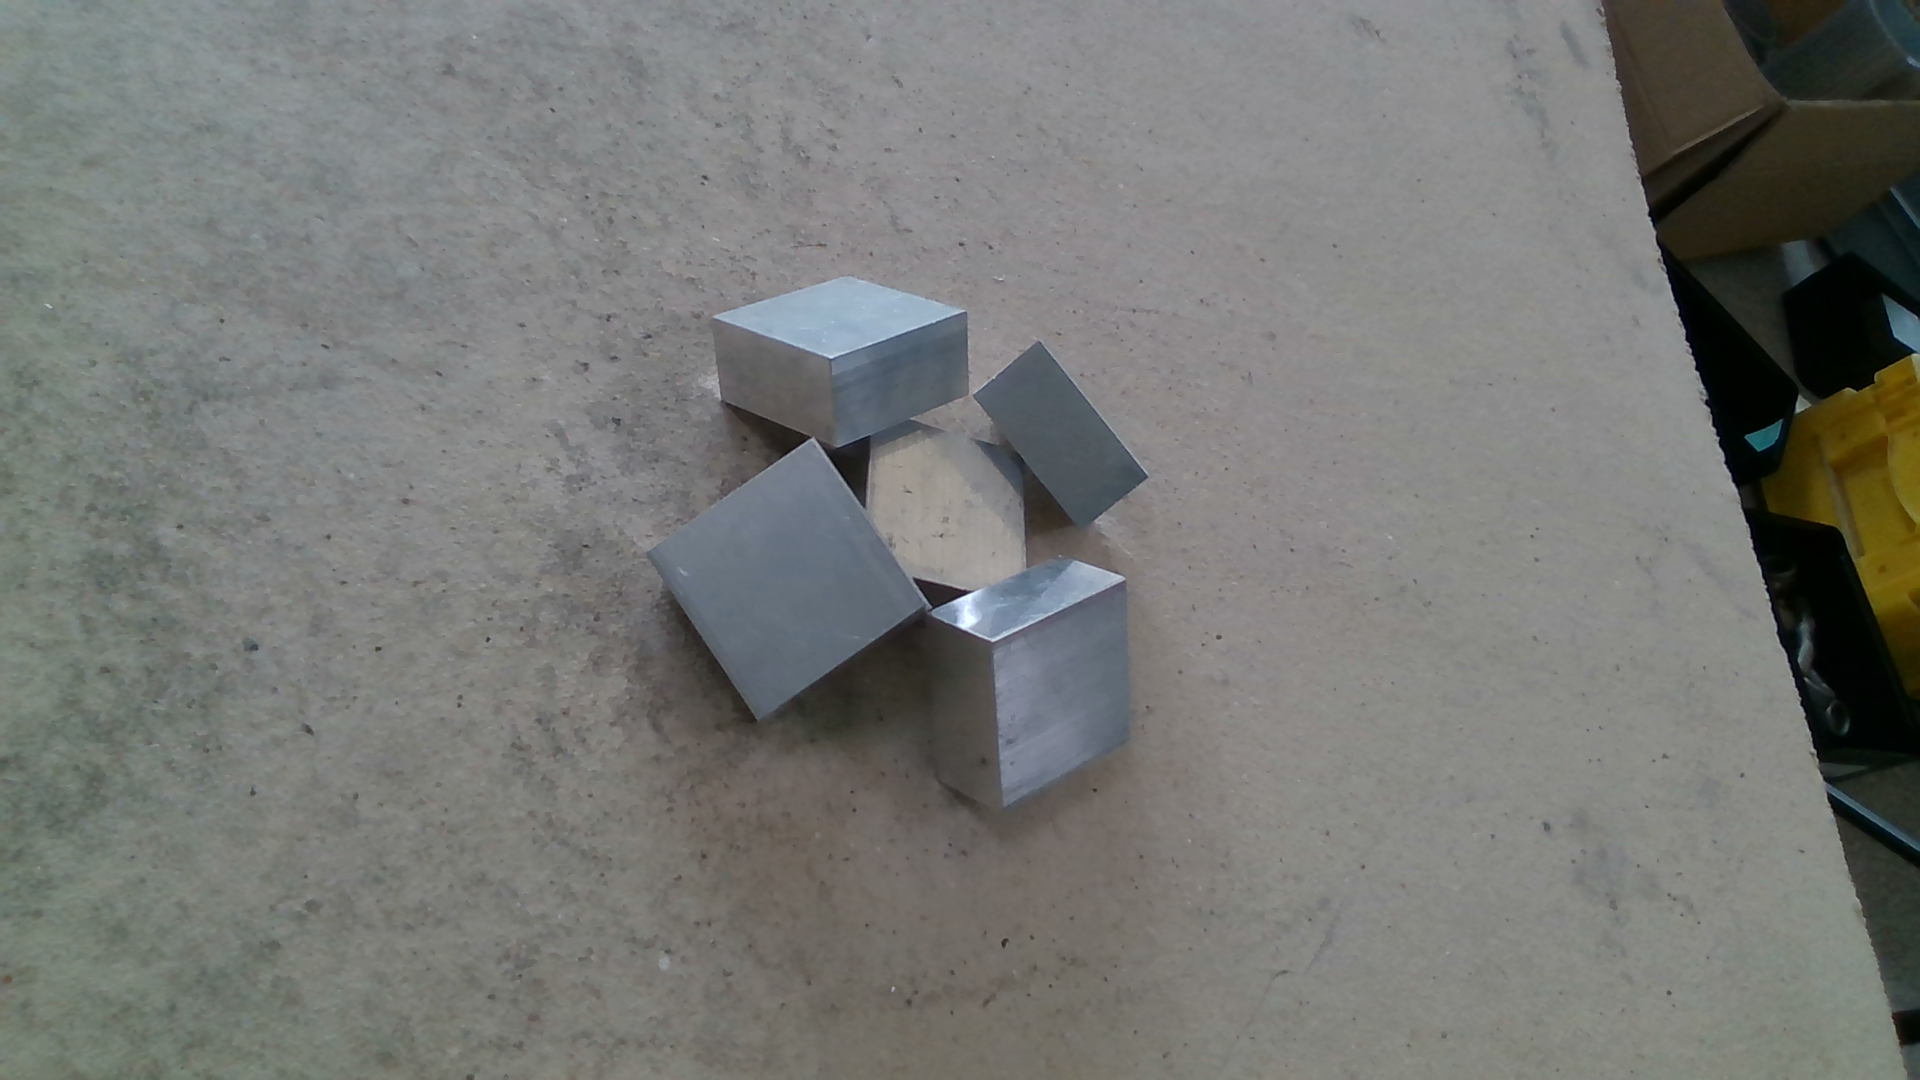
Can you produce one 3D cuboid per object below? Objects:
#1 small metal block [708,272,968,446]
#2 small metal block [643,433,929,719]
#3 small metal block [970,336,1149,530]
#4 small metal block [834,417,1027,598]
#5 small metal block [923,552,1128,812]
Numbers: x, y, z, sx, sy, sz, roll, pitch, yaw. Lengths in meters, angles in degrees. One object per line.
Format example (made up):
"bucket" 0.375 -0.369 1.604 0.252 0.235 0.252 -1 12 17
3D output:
"small metal block" -0.033 -0.052 0.383 0.050 0.025 0.050 24 37 38
"small metal block" -0.042 0.010 0.346 0.050 0.025 0.050 -35 85 -1
"small metal block" 0.032 -0.032 0.414 0.050 0.025 0.050 52 9 2
"small metal block" -0.009 -0.005 0.390 0.050 0.025 0.050 14 60 -25
"small metal block" 0.019 0.037 0.369 0.050 0.025 0.050 -22 119 -37
